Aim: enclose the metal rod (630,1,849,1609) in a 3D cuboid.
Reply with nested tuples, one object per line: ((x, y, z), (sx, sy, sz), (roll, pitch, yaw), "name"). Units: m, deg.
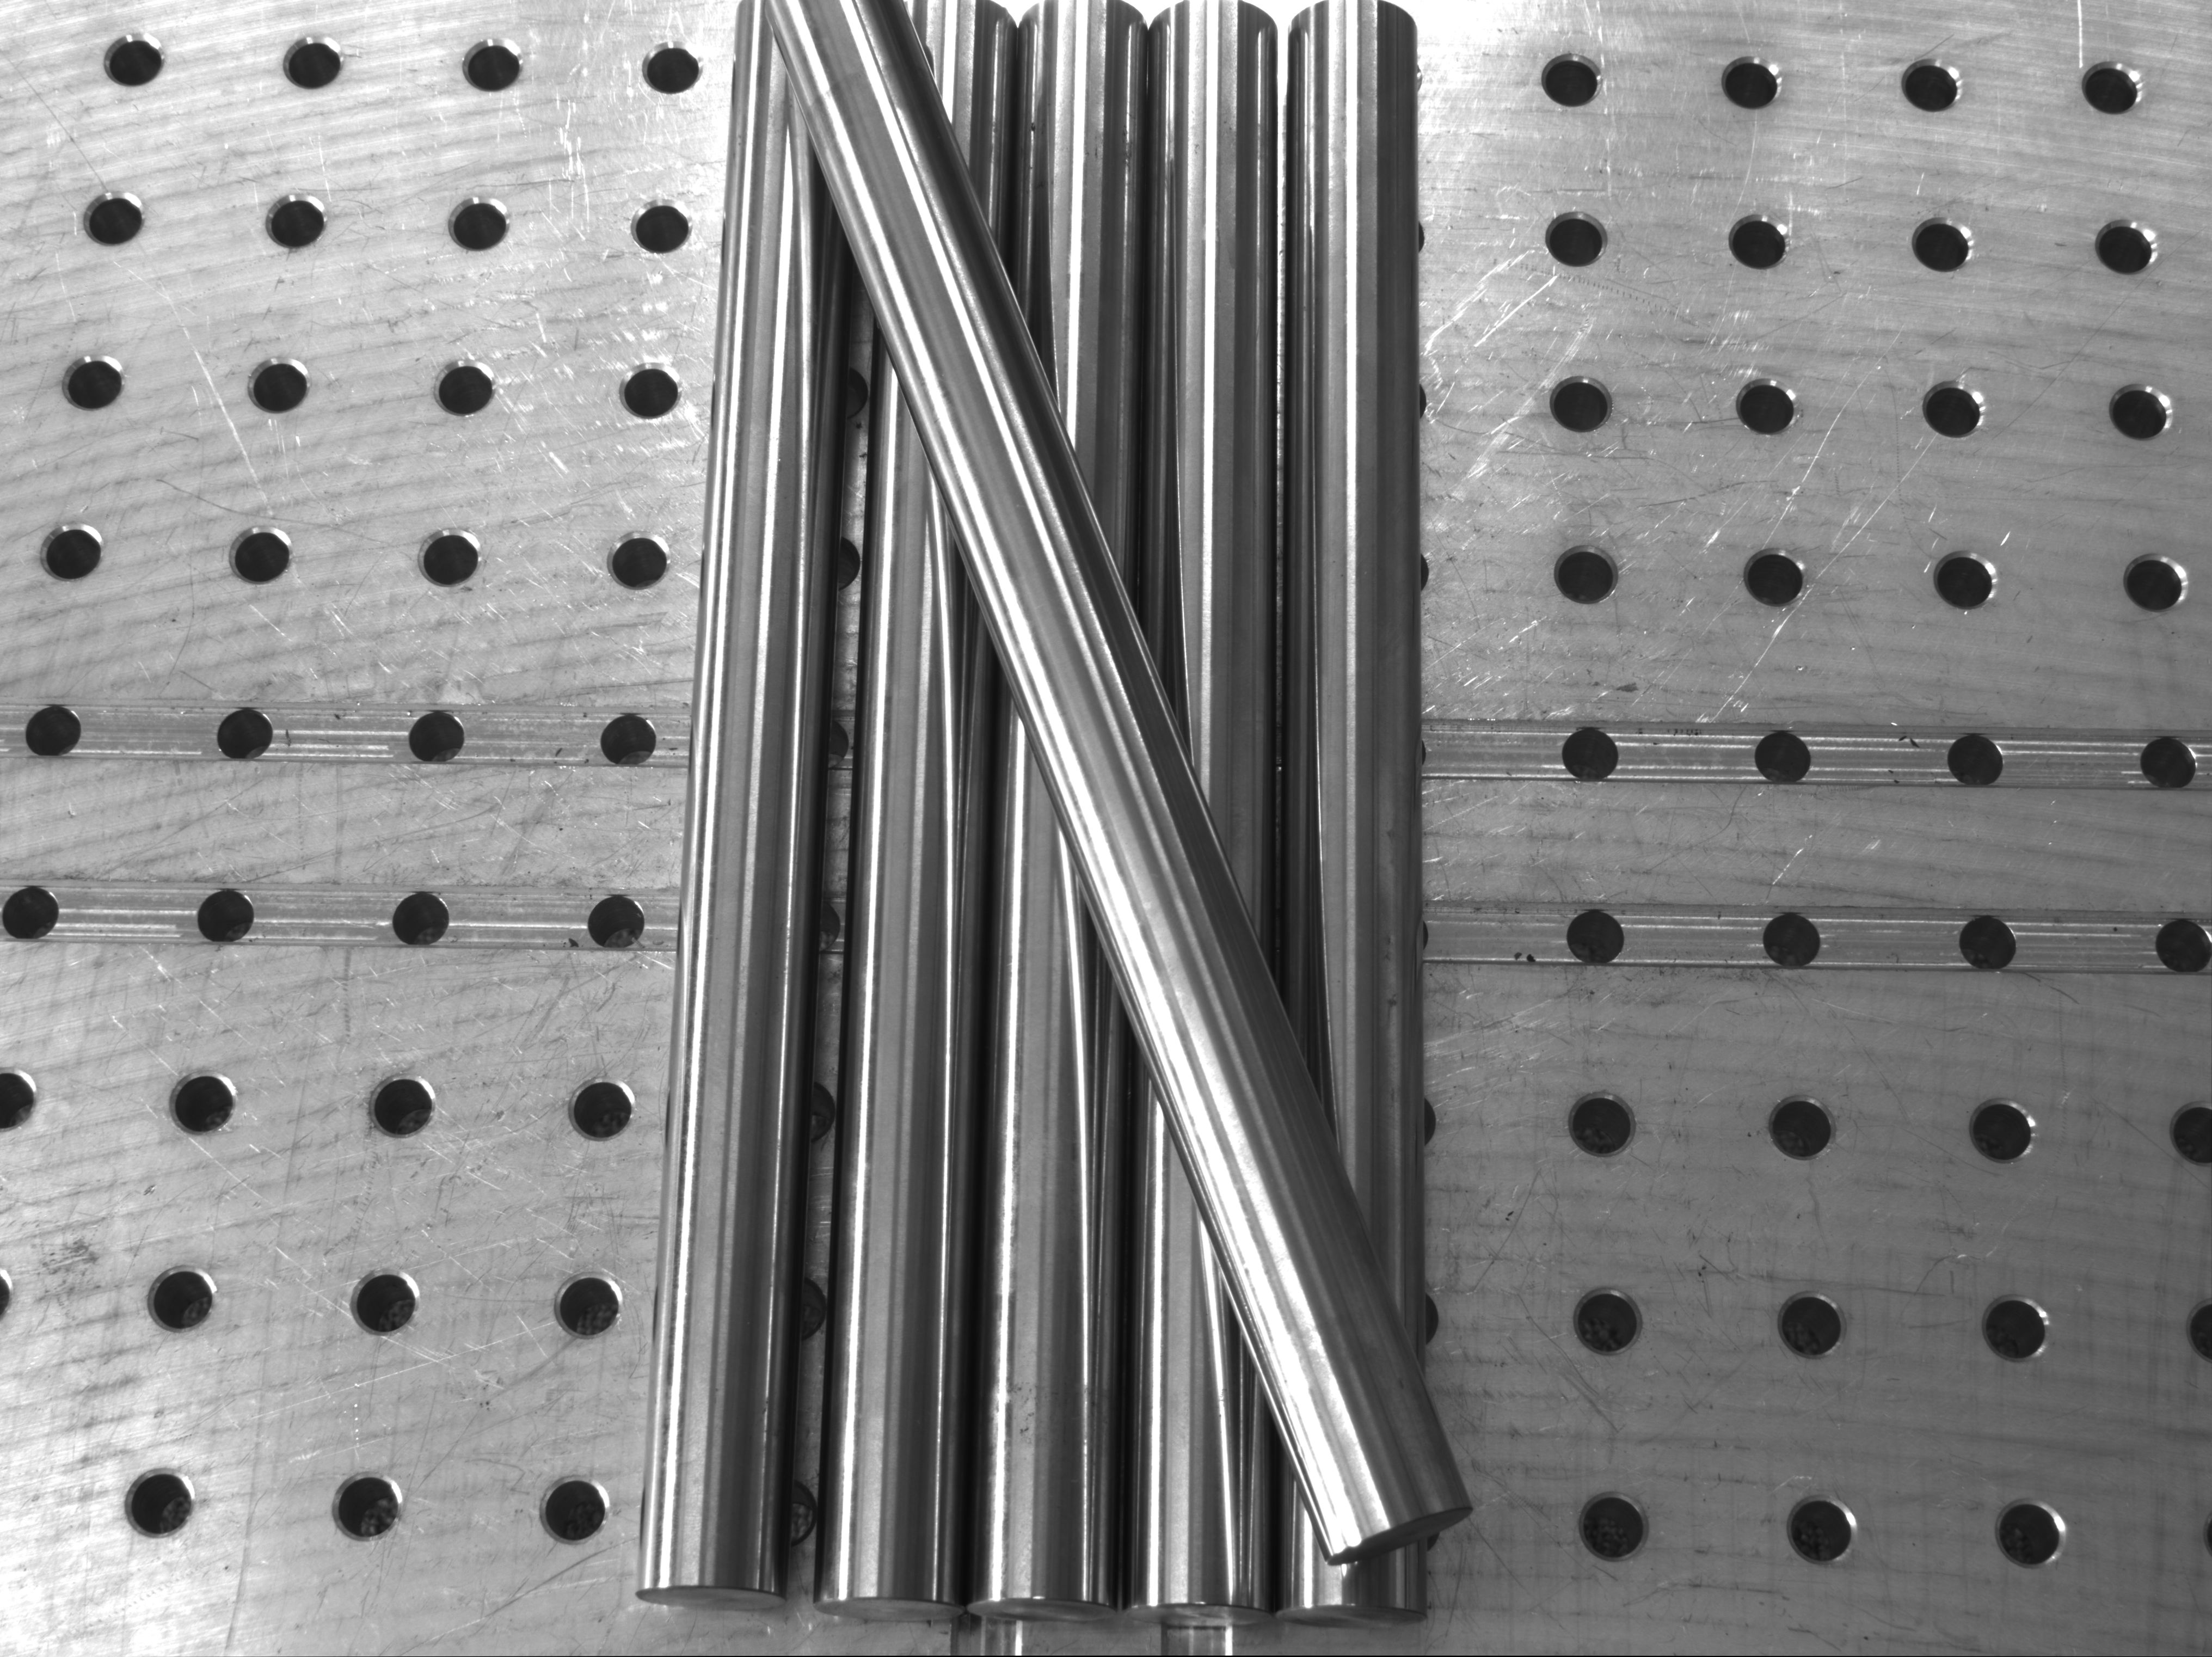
((-0.062, -0.015, 0.652), (0.025, 0.025, 0.300), (1, 70, 1), "metal rod")

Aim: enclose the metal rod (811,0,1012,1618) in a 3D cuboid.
((-0.033, -0.013, 0.652), (0.025, 0.025, 0.300), (1, 70, 1), "metal rod")

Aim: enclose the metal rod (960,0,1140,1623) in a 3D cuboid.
((-0.009, -0.013, 0.652), (0.025, 0.025, 0.300), (1, 70, 1), "metal rod")

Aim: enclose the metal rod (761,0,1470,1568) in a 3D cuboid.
((-0.003, -0.021, 0.629), (0.025, 0.025, 0.300), (-18, 71, -6), "metal rod")

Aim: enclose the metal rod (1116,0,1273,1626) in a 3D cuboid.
((0.017, -0.012, 0.653), (0.025, 0.025, 0.300), (1, 70, 1), "metal rod")

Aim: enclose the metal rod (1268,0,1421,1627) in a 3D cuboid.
((0.043, -0.011, 0.653), (0.025, 0.025, 0.300), (1, 70, 1), "metal rod")
